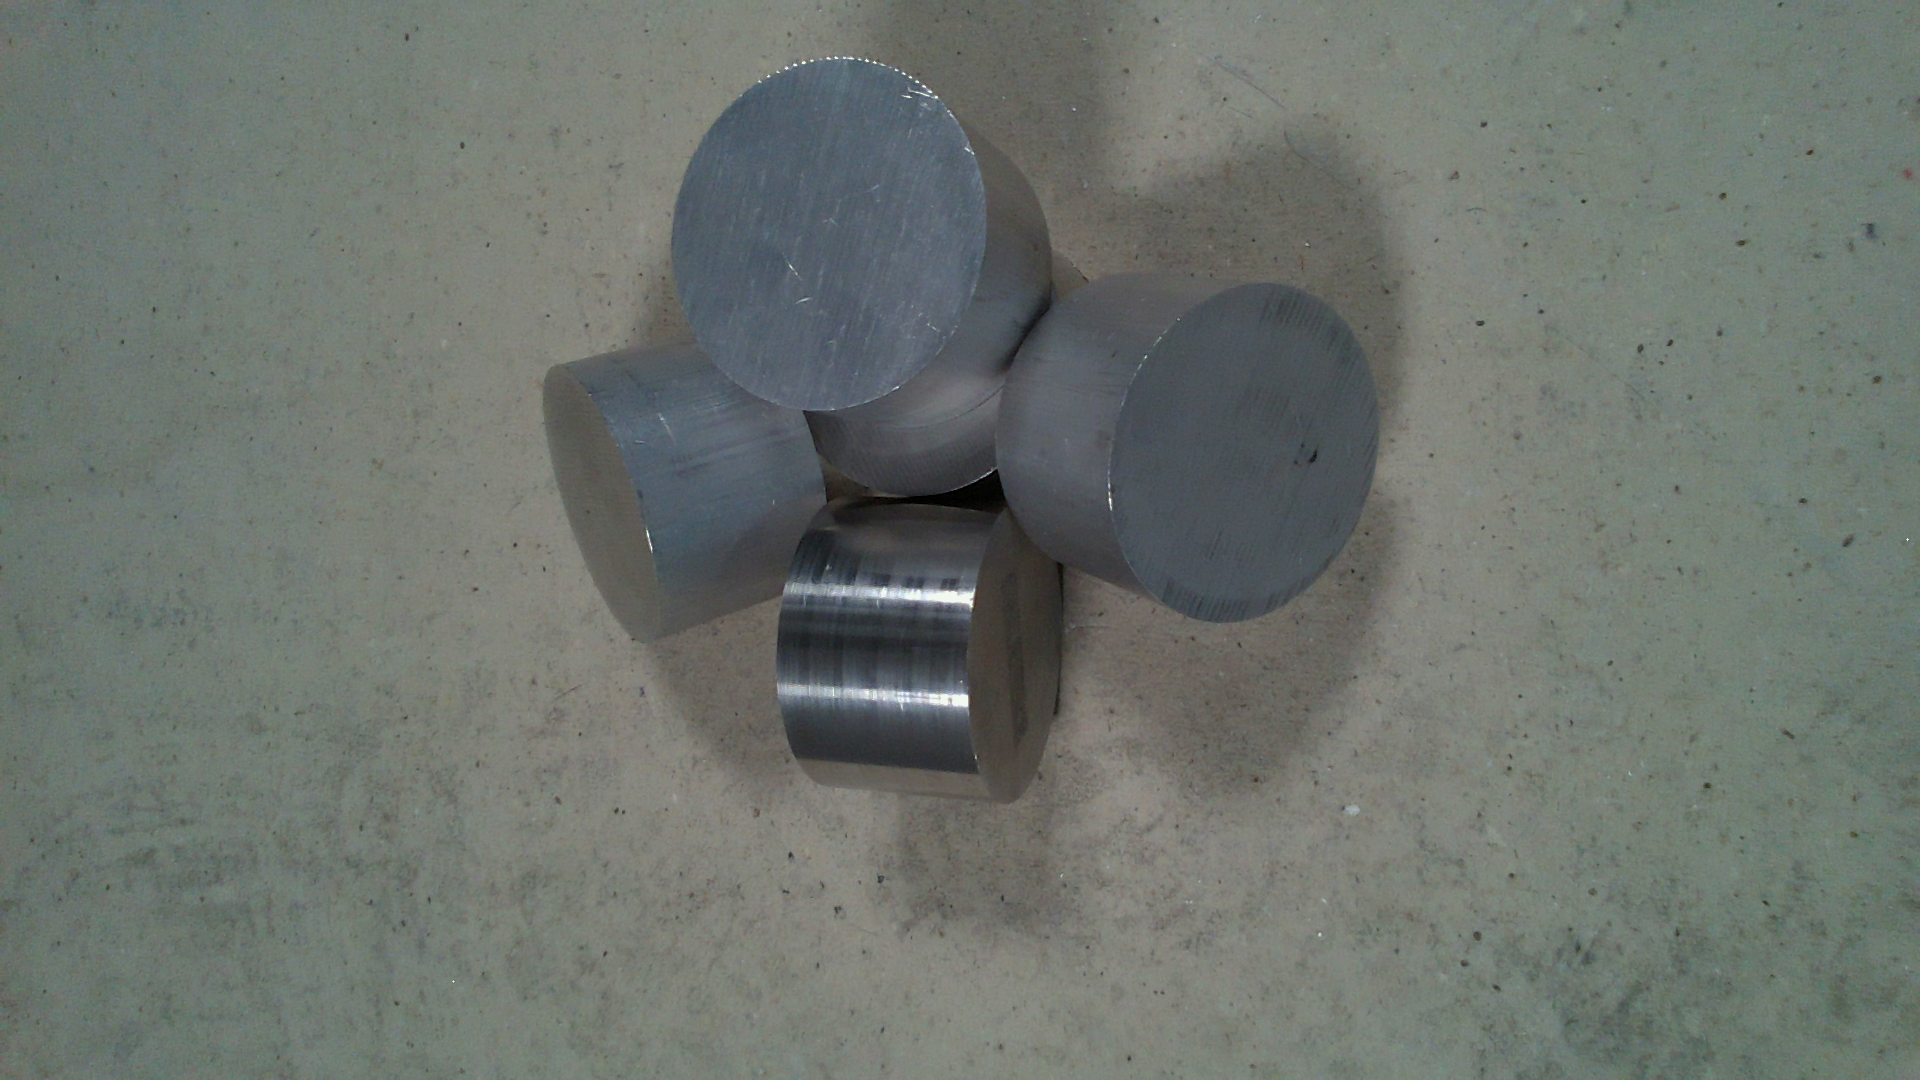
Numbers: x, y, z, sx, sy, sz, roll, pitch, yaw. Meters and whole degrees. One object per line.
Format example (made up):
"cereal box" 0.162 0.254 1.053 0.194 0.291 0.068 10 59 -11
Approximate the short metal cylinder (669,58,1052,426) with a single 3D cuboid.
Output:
"short metal cylinder" -0.023 -0.070 0.337 0.080 0.050 0.080 0 90 20

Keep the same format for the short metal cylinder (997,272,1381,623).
"short metal cylinder" 0.056 -0.025 0.340 0.050 0.080 0.080 22 100 58

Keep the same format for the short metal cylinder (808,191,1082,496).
"short metal cylinder" -0.003 -0.052 0.384 0.080 0.050 0.080 0 90 20

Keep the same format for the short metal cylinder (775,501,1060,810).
"short metal cylinder" -0.008 0.029 0.369 0.050 0.080 0.080 2 91 20

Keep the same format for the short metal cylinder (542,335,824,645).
"short metal cylinder" -0.079 -0.016 0.390 0.080 0.050 0.080 40 140 45
